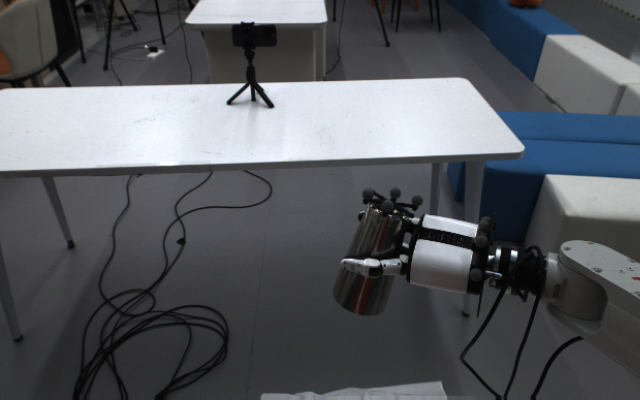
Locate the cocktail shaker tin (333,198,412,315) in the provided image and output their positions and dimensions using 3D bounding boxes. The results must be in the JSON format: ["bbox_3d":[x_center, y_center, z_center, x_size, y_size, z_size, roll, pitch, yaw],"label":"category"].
[{"bbox_3d":[0.087,0.085,0.768,0.093,0.170,0.093,12,24,-5],"label":"cocktail shaker tin"}]
